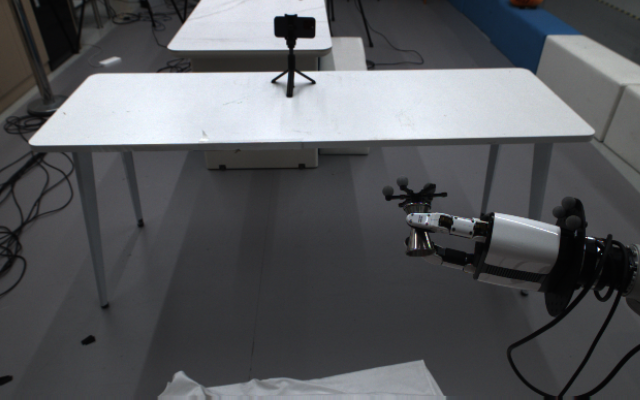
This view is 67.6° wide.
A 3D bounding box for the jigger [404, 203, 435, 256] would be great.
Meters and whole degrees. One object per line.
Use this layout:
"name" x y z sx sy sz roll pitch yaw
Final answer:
"jigger" 0.139 0.040 0.683 0.043 0.043 0.071 1 70 -2
